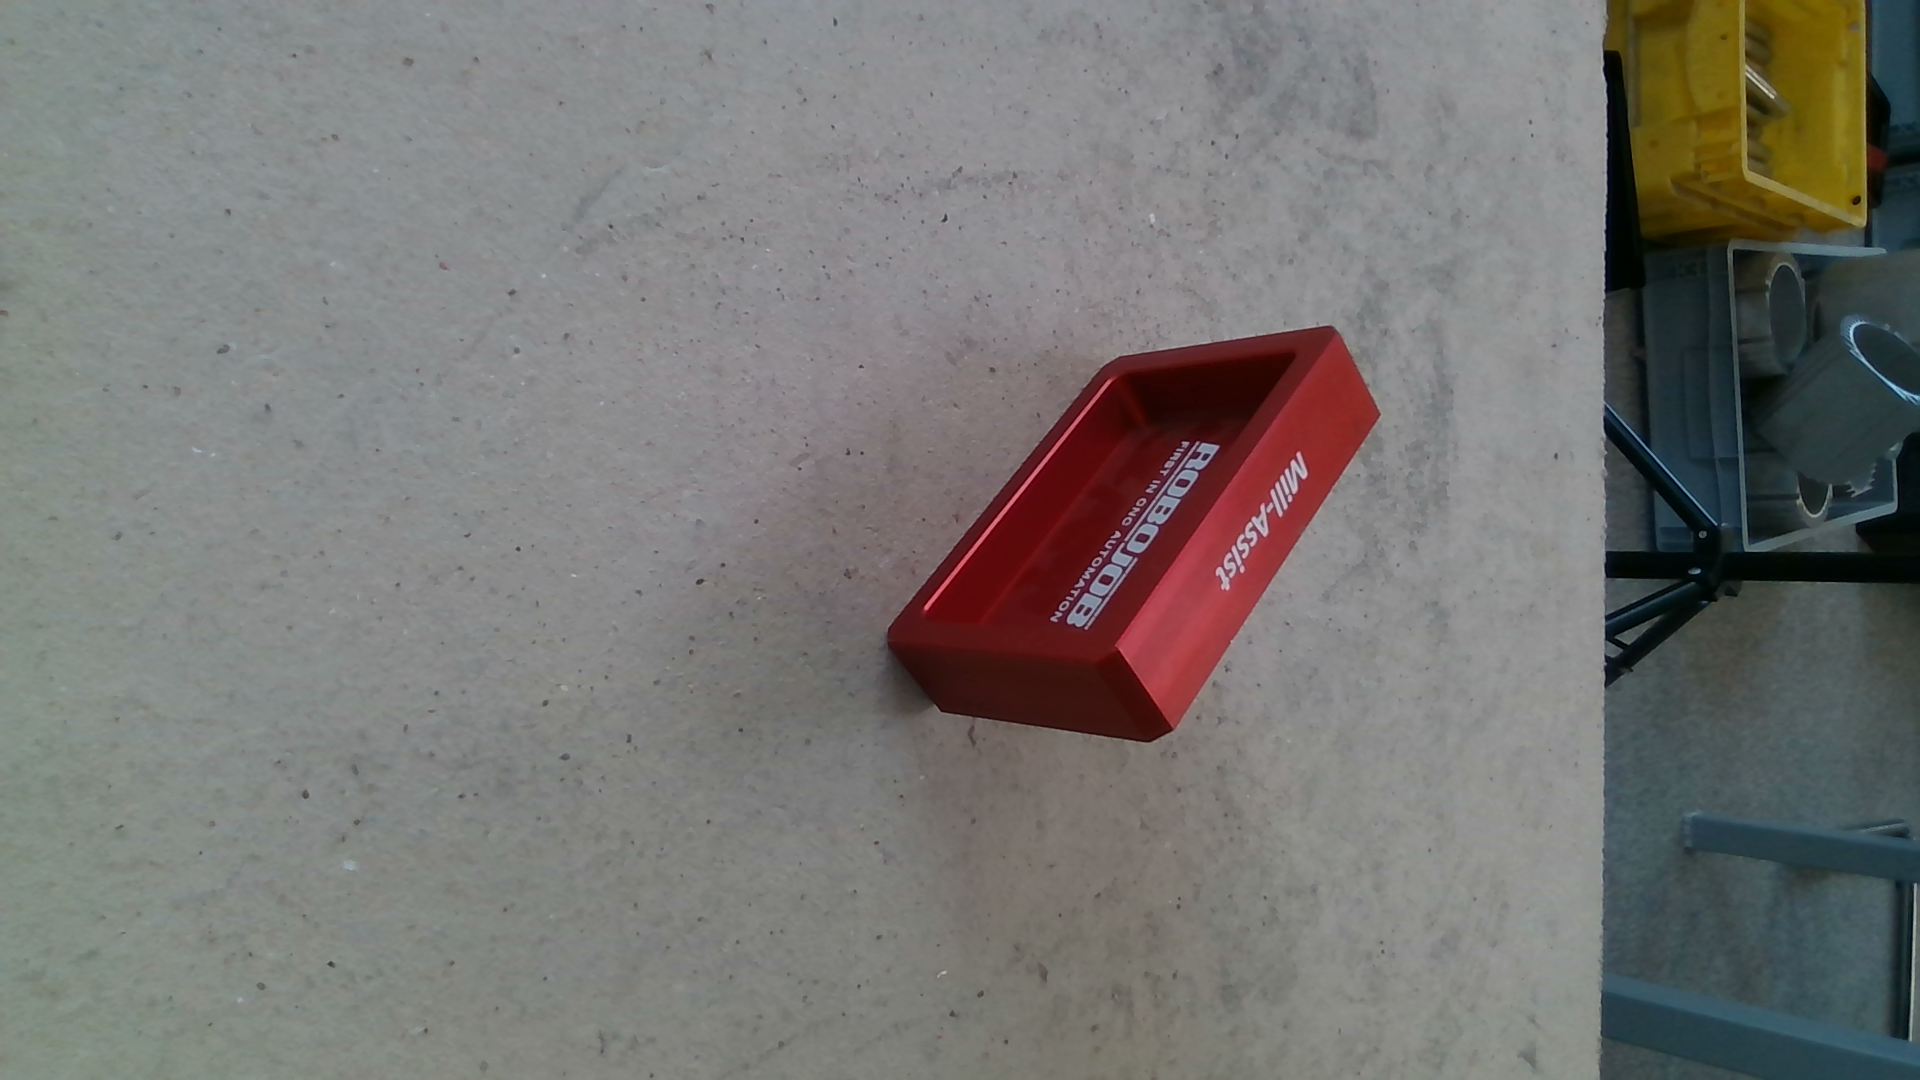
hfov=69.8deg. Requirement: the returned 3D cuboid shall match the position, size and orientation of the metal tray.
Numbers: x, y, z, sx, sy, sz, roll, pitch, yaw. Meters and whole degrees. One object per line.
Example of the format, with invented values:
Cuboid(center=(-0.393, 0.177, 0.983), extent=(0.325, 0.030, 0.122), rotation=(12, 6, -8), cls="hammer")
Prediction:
Cuboid(center=(0.049, -0.005, 0.390), extent=(0.130, 0.090, 0.030), rotation=(-51, 120, -28), cls="metal tray")
